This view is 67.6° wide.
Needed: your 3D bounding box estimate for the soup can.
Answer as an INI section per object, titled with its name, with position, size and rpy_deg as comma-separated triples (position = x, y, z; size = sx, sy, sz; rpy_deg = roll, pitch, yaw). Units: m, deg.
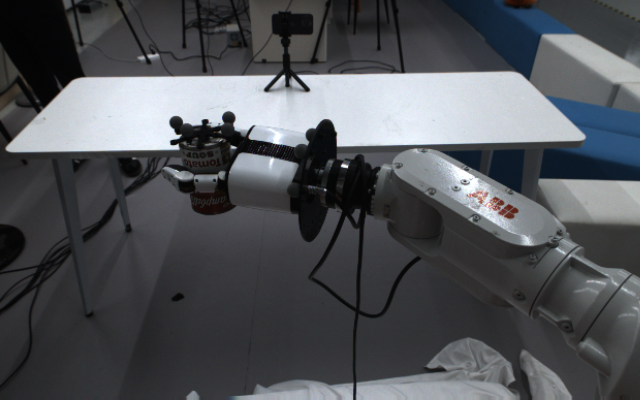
[soup can]
position = -0.149, -0.039, 0.657
size = 0.067, 0.101, 0.067
rpy_deg = -2, 32, 2
